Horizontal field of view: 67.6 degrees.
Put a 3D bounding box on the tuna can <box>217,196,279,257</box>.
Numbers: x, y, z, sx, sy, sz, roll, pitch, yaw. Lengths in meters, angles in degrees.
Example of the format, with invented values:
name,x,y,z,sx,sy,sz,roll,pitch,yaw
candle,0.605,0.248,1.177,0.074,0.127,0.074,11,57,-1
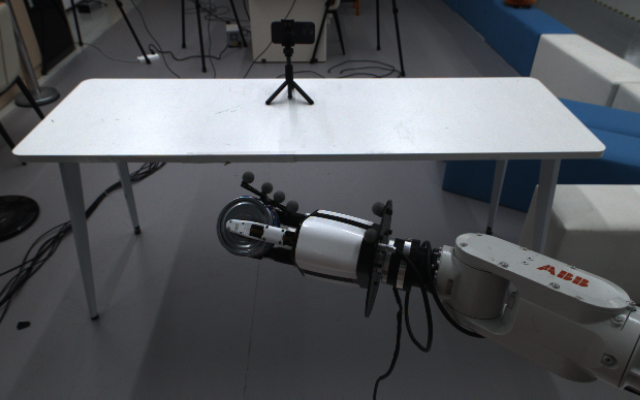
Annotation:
name,x,y,z,sx,sy,sz,roll,pitch,yaw
tuna can,-0.099,0.044,0.681,0.085,0.085,0.034,13,-4,15
